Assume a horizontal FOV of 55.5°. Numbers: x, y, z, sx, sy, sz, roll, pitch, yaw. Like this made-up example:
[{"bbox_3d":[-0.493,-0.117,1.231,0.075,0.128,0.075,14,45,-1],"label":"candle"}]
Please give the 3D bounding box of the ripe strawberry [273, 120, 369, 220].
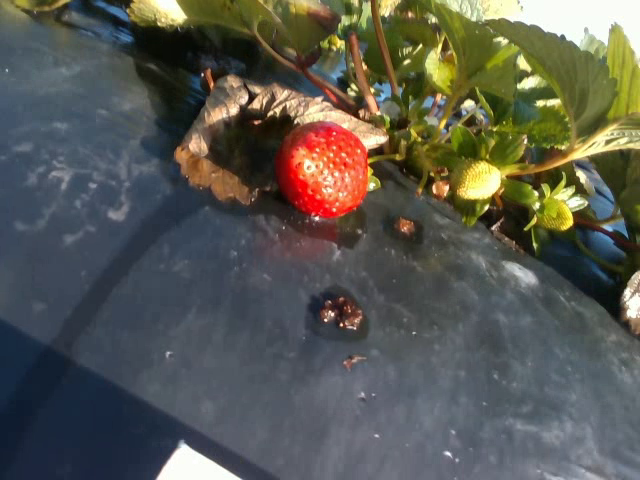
[{"bbox_3d":[-0.004,-0.023,0.189,0.037,0.046,0.054,-47,-15,23],"label":"ripe strawberry"}]
